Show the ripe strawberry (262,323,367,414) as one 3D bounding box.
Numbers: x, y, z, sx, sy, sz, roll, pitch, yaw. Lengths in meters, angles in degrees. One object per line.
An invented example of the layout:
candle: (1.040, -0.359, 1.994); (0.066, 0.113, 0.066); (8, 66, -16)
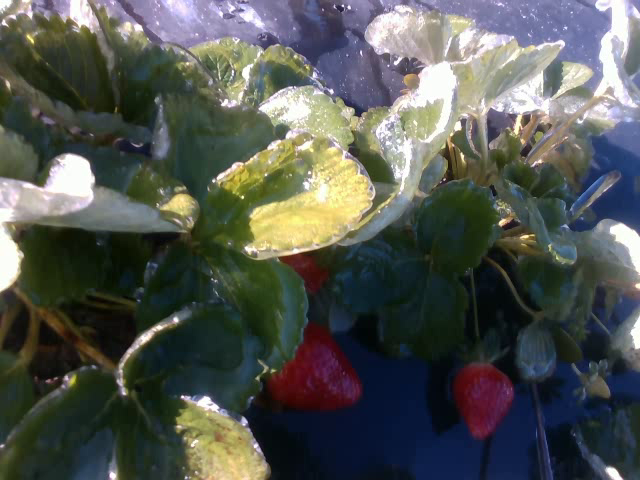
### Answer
ripe strawberry: (0.004, 0.069, 0.290); (0.056, 0.044, 0.040); (39, -17, -24)

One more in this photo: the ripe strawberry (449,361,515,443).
ripe strawberry: (0.091, 0.089, 0.323); (0.039, 0.047, 0.040); (27, -23, -27)
